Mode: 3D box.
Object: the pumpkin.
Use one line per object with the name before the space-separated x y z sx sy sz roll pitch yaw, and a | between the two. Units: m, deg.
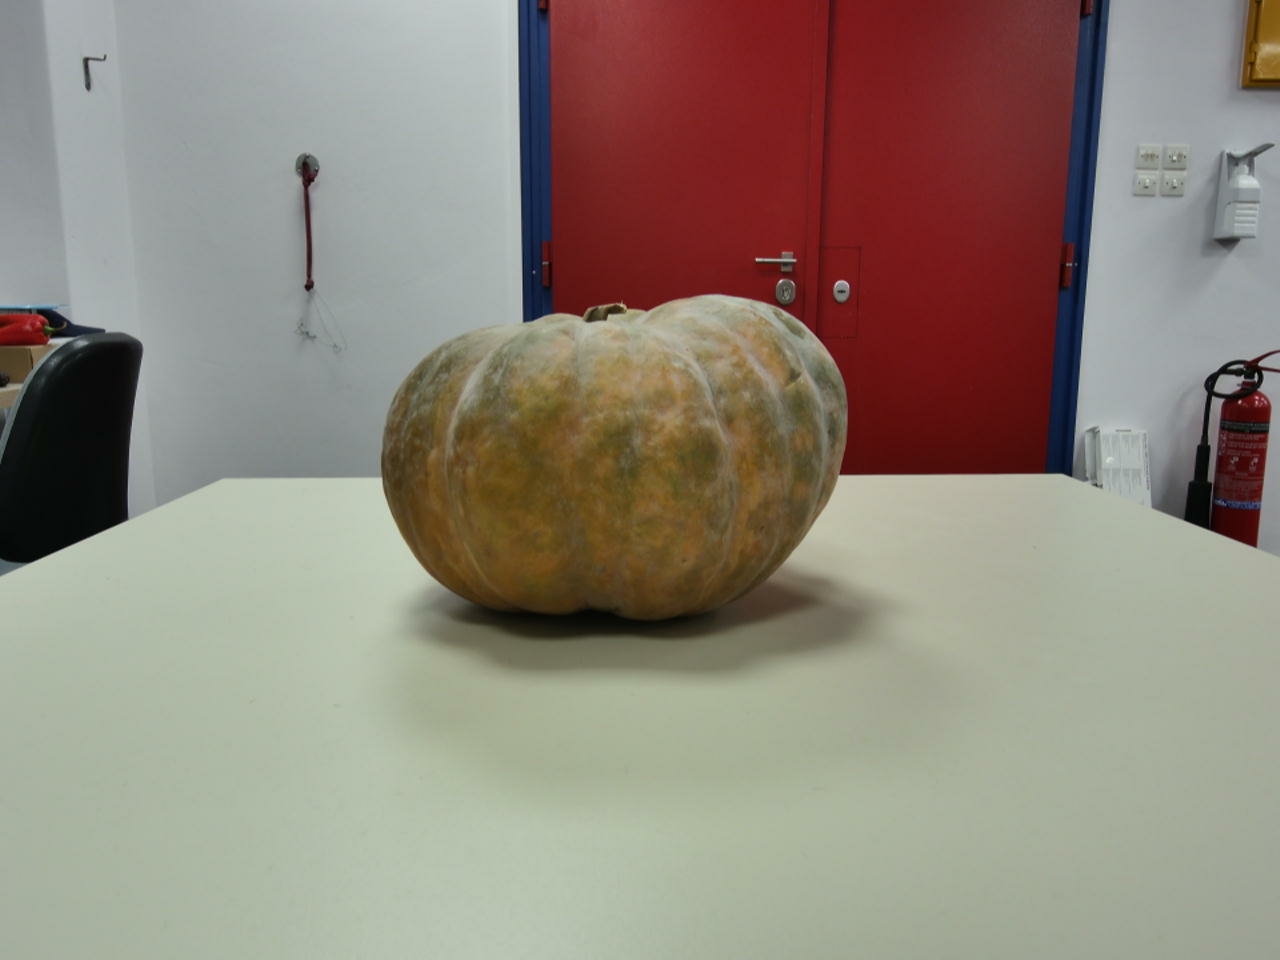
pumpkin | -0.019 -0.016 0.551 0.252 0.168 0.252 0 8 0
